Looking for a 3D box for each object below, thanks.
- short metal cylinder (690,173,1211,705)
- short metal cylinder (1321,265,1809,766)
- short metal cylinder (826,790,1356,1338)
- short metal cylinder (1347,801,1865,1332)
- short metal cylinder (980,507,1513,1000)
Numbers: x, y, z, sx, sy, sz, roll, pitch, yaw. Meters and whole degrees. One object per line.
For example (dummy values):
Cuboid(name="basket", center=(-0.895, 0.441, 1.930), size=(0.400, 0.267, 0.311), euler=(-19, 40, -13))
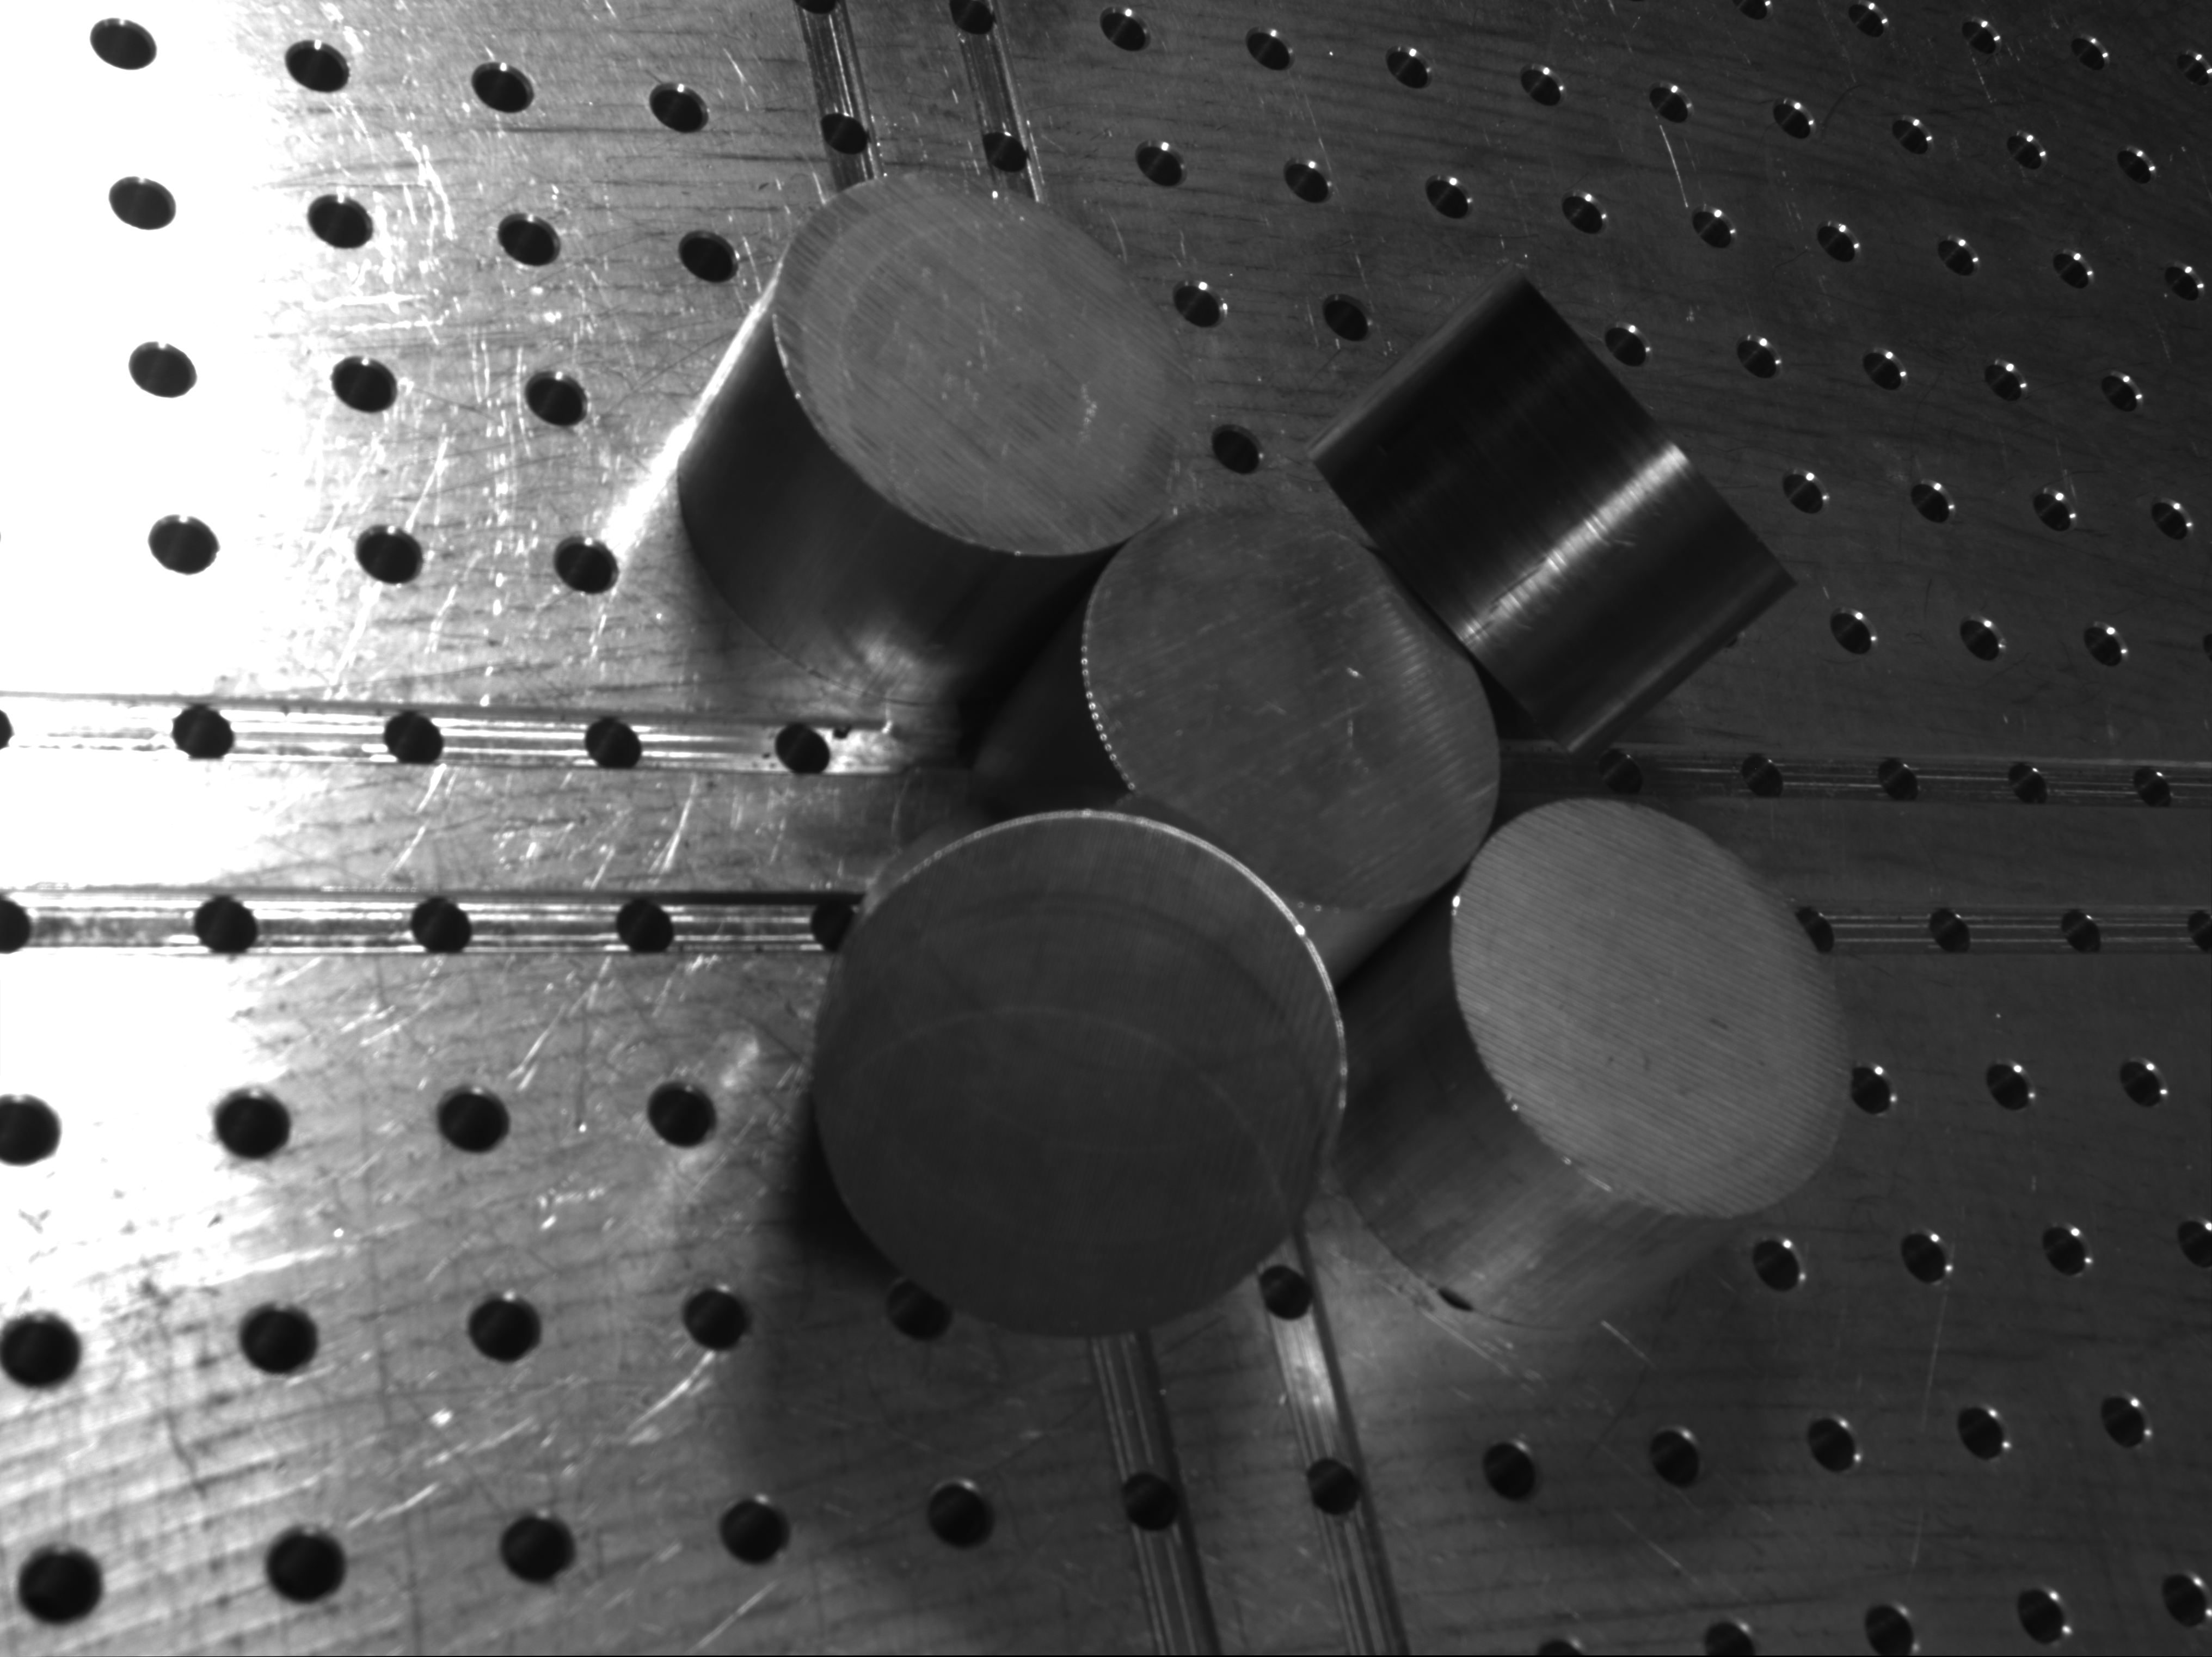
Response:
Cuboid(name="short metal cylinder", center=(-0.028, -0.069, 0.654), size=(0.080, 0.050, 0.080), euler=(14, 56, -21))
Cuboid(name="short metal cylinder", center=(0.085, -0.058, 0.682), size=(0.080, 0.050, 0.080), euler=(47, 10, -11))
Cuboid(name="short metal cylinder", center=(-0.003, 0.035, 0.577), size=(0.080, 0.050, 0.080), euler=(0, 95, -2))
Cuboid(name="short metal cylinder", center=(0.086, 0.042, 0.647), size=(0.080, 0.050, 0.080), euler=(14, 56, -21))
Cuboid(name="short metal cylinder", center=(0.024, -0.009, 0.645), size=(0.080, 0.050, 0.080), euler=(14, 56, -21))
